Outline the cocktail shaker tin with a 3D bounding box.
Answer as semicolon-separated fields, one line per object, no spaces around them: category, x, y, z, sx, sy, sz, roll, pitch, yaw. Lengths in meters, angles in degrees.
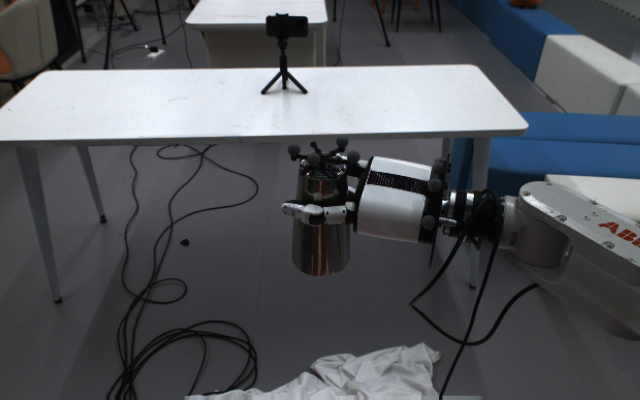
cocktail shaker tin;0.006;0.016;0.706;0.093;0.170;0.093;1;39;-1
